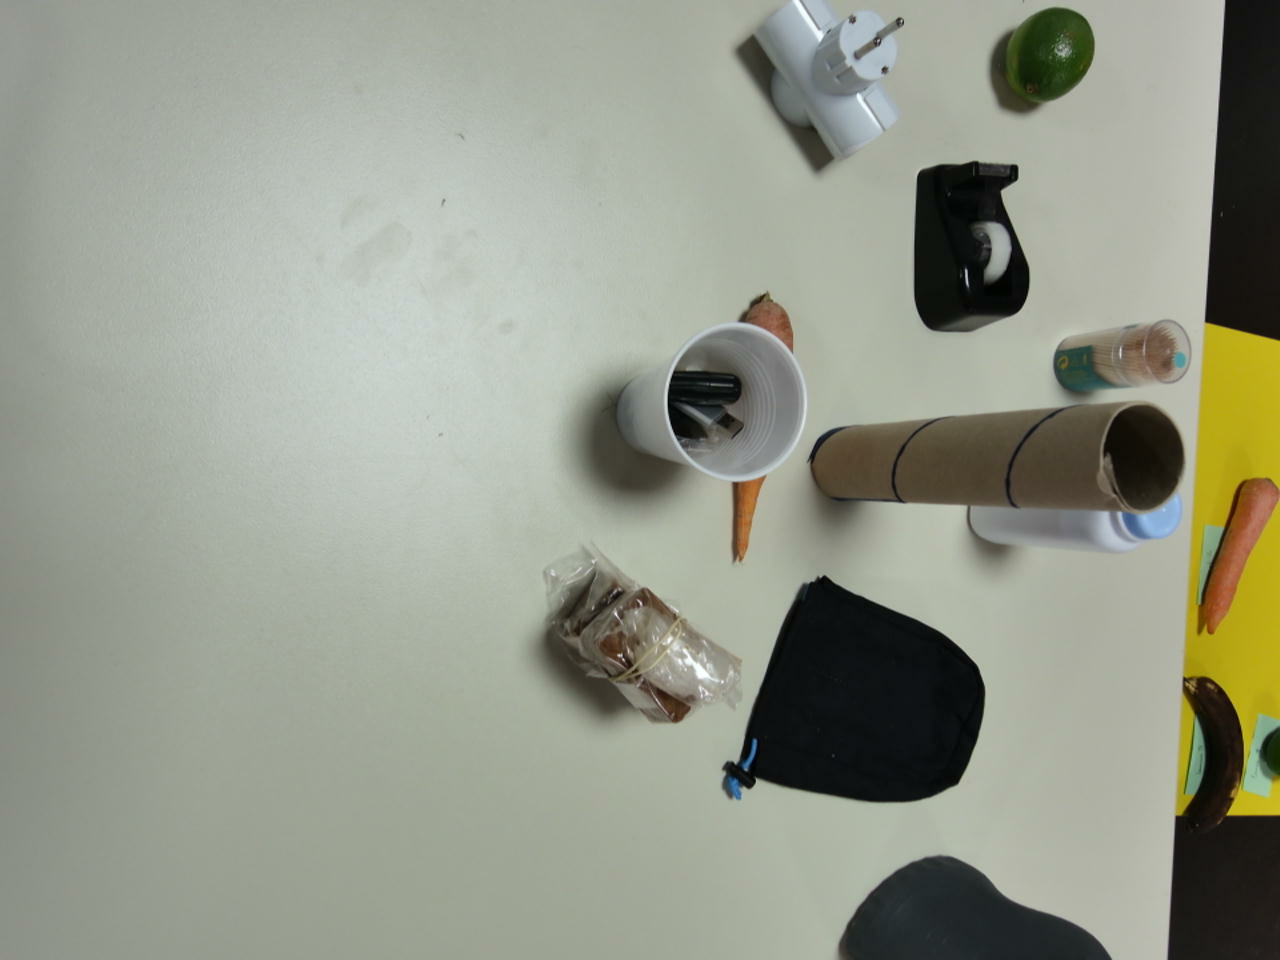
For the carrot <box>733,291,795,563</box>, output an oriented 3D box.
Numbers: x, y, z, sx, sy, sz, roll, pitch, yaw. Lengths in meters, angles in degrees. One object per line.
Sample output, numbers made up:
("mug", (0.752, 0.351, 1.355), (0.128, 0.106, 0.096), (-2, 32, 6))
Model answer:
("carrot", (0.074, -0.032, 0.604), (0.031, 0.029, 0.163), (5, 89, -22))
